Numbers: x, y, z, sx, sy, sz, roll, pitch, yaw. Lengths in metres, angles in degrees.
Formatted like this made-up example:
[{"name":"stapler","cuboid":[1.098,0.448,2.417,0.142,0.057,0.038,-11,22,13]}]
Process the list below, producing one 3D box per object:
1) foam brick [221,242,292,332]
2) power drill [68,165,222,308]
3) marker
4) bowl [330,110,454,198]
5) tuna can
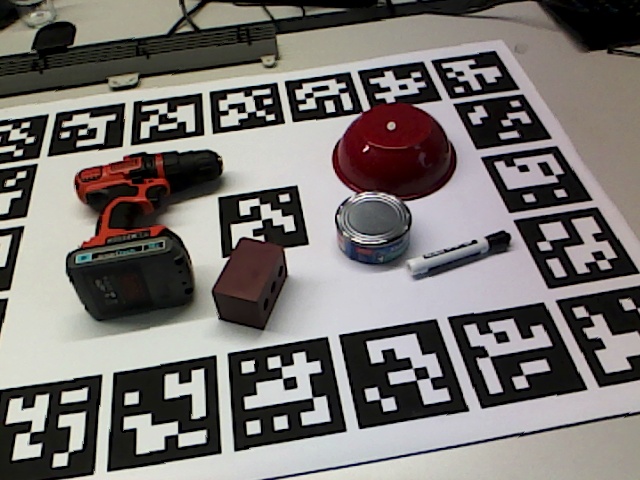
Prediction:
[{"name":"foam brick","cuboid":[-0.065,0.050,0.653,0.051,0.052,0.078,9,51,10]},{"name":"power drill","cuboid":[-0.199,-0.016,0.716,0.184,0.057,0.188,-9,46,-8]},{"name":"marker","cuboid":[0.159,0.009,0.682,0.121,0.019,0.020,-17,51,-11]},{"name":"bowl","cuboid":[0.090,-0.121,0.796,0.162,0.055,0.162,-6,42,5]},{"name":"tuna can","cuboid":[0.065,-0.018,0.706,0.086,0.033,0.086,-1,48,1]}]
